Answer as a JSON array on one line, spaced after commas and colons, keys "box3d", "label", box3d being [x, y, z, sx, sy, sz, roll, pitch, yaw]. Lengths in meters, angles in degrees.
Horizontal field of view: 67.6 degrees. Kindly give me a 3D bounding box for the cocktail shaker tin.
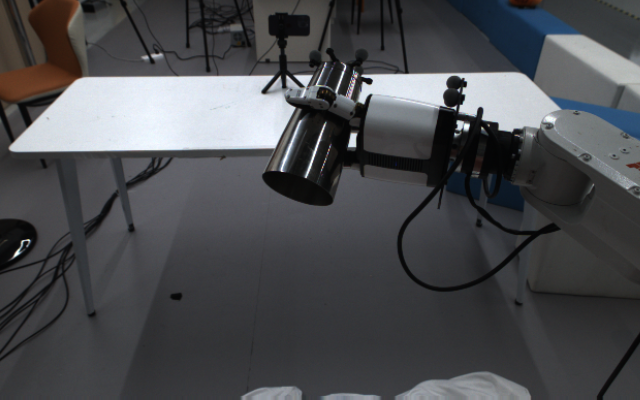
[{"box3d": [0.000, -0.089, 0.617, 0.093, 0.093, 0.170, 13, 70, 15], "label": "cocktail shaker tin"}]
